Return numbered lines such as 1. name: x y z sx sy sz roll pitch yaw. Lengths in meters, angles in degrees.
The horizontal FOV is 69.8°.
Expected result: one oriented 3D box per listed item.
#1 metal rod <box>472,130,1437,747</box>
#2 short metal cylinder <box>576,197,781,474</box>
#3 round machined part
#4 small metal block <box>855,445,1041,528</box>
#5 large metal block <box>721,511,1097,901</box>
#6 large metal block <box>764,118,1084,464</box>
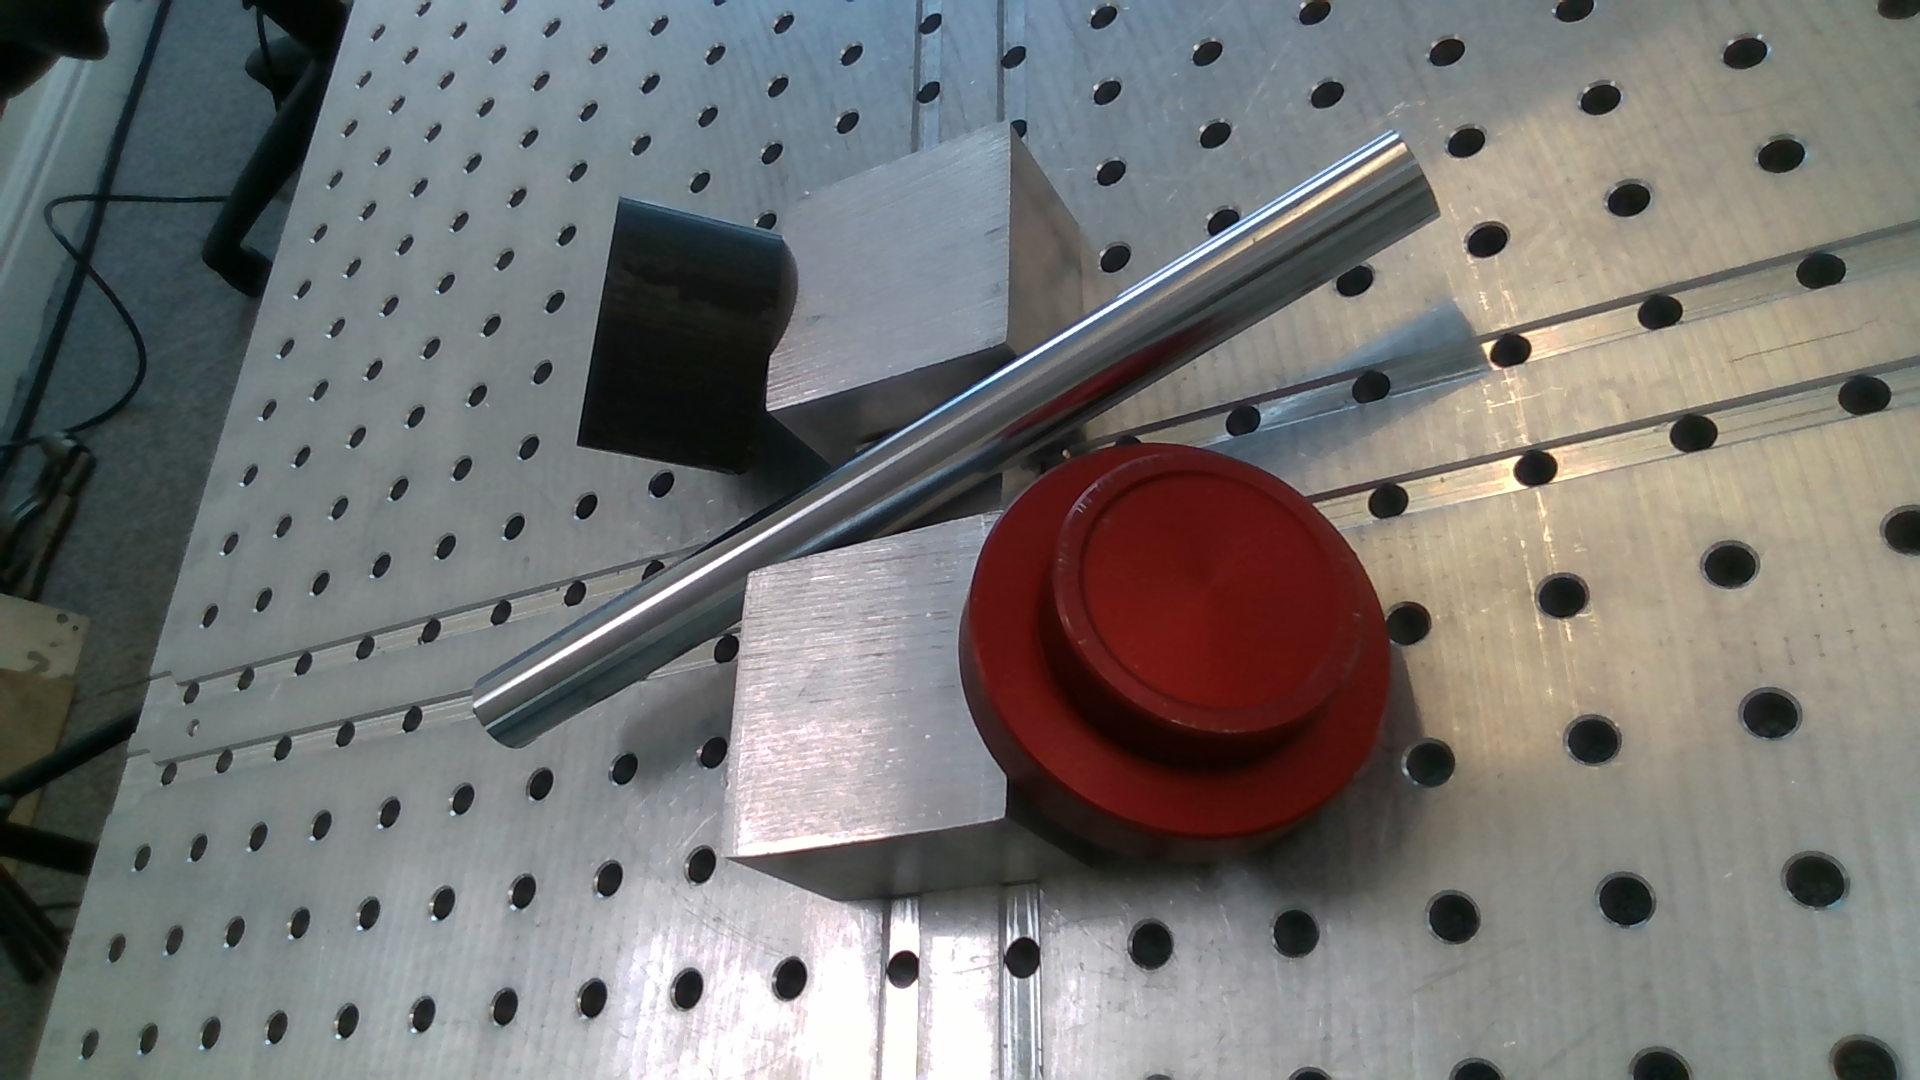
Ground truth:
1. metal rod: -0.014 -0.019 0.381 0.300 0.025 0.025 -30 54 15
2. short metal cylinder: -0.091 -0.065 0.443 0.080 0.050 0.080 -171 91 -74
3. round machined part: 0.050 0.019 0.312 0.098 0.042 0.098 3 62 -6
4. small metal block: -0.004 -0.007 0.403 0.050 0.025 0.050 -14 59 25
5. large metal block: -0.012 0.046 0.364 0.080 0.050 0.080 -14 59 25
6. large metal block: -0.009 -0.070 0.424 0.080 0.050 0.080 -12 60 26
